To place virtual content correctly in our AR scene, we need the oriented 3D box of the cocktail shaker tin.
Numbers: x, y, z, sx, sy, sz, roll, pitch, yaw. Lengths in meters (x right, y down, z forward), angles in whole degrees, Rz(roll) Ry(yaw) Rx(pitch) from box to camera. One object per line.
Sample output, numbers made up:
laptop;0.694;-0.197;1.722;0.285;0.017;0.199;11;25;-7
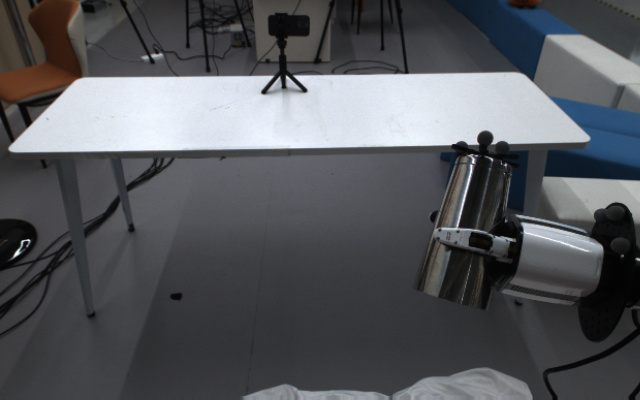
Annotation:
cocktail shaker tin;0.179;0.036;0.584;0.093;0.170;0.093;16;-4;1
